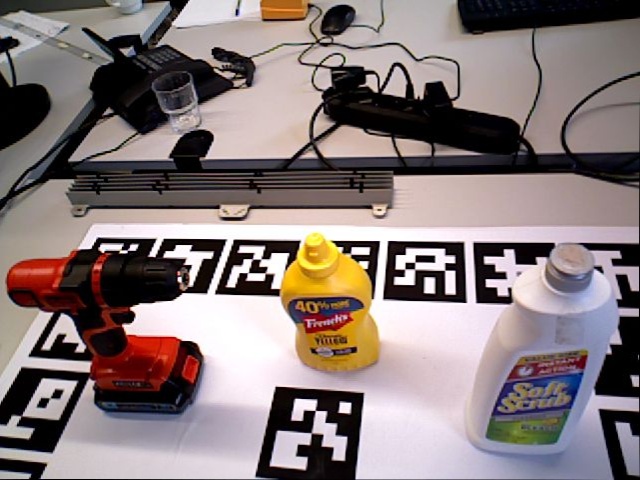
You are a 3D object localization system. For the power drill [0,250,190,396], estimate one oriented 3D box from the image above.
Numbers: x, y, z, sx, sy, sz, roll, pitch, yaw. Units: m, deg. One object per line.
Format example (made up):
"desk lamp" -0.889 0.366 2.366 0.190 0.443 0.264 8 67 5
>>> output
"power drill" -0.199 0.083 0.539 0.185 0.190 0.056 -7 46 9

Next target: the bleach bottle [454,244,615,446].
"bleach bottle" 0.172 0.088 0.454 0.103 0.255 0.066 6 48 15

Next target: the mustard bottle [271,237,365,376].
"mustard bottle" -0.005 0.067 0.556 0.096 0.195 0.057 -5 46 3
